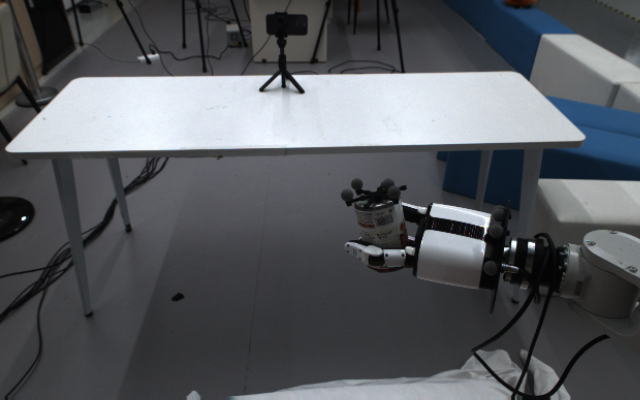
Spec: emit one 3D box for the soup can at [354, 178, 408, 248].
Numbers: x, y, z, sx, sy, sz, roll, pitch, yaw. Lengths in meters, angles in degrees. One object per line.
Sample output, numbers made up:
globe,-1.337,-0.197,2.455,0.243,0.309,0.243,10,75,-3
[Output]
soup can,0.093,0.044,0.695,0.067,0.101,0.067,-13,20,5
